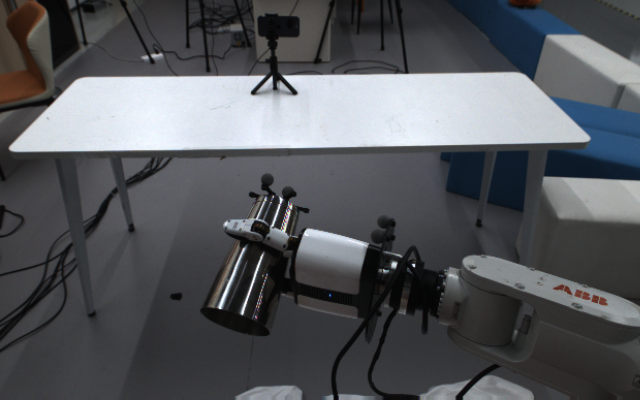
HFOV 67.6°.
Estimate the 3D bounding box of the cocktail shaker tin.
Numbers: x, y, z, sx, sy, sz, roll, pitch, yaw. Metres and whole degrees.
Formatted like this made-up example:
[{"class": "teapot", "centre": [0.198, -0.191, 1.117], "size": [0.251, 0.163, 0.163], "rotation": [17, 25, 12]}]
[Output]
[{"class": "cocktail shaker tin", "centre": [-0.080, 0.081, 0.634], "size": [0.093, 0.093, 0.170], "rotation": [10, 59, 11]}]
